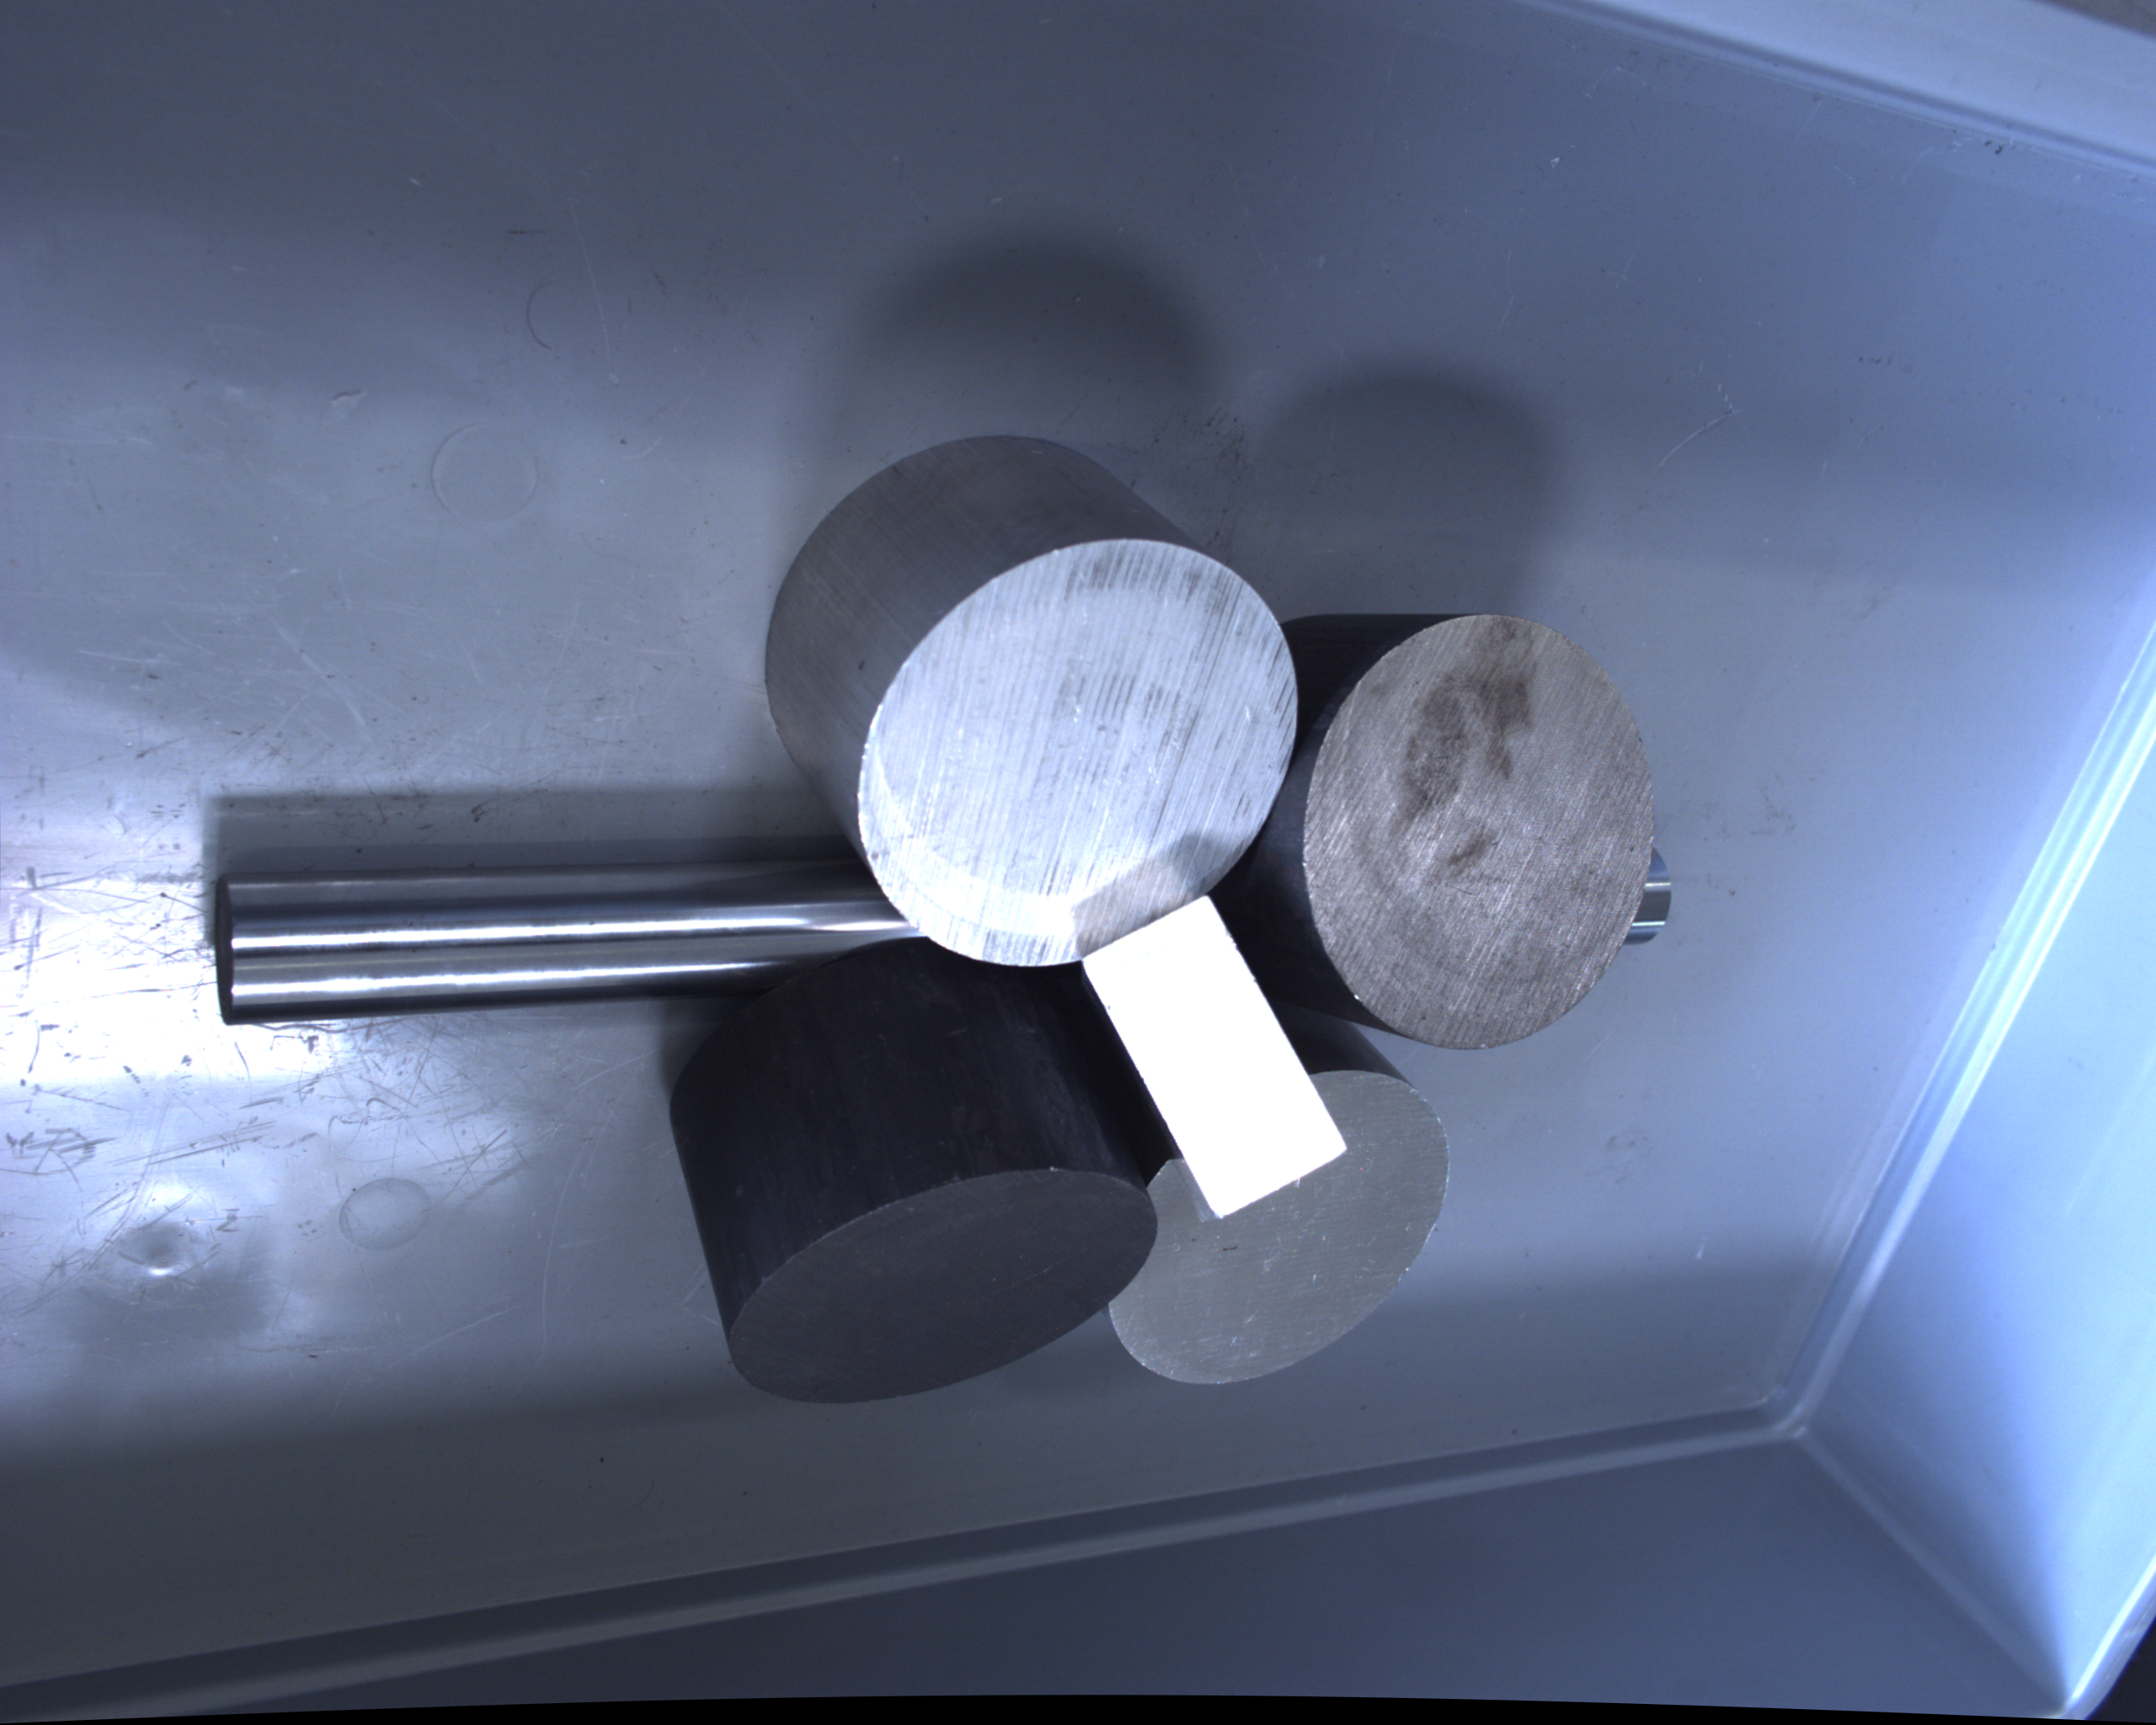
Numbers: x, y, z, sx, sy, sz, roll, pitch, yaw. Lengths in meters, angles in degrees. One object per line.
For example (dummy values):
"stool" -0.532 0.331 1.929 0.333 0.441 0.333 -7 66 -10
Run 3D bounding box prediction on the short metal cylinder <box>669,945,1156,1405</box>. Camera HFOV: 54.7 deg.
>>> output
"short metal cylinder" -0.032 0.060 0.394 0.081 0.050 0.080 -16 144 -11

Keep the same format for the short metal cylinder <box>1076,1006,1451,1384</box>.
"short metal cylinder" 0.032 0.064 0.447 0.081 0.050 0.079 -14 124 -21

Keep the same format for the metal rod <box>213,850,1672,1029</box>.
"metal rod" -0.006 0.011 0.410 0.303 0.025 0.025 -2 119 -28

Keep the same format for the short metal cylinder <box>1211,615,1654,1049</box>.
"short metal cylinder" 0.063 -0.008 0.403 0.081 0.050 0.079 -3 97 -28

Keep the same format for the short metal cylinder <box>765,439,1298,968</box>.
"short metal cylinder" -0.009 -0.028 0.368 0.081 0.050 0.079 -14 124 -21

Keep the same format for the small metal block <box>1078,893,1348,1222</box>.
"small metal block" 0.023 0.037 0.380 0.025 0.050 0.050 -27 170 -4
